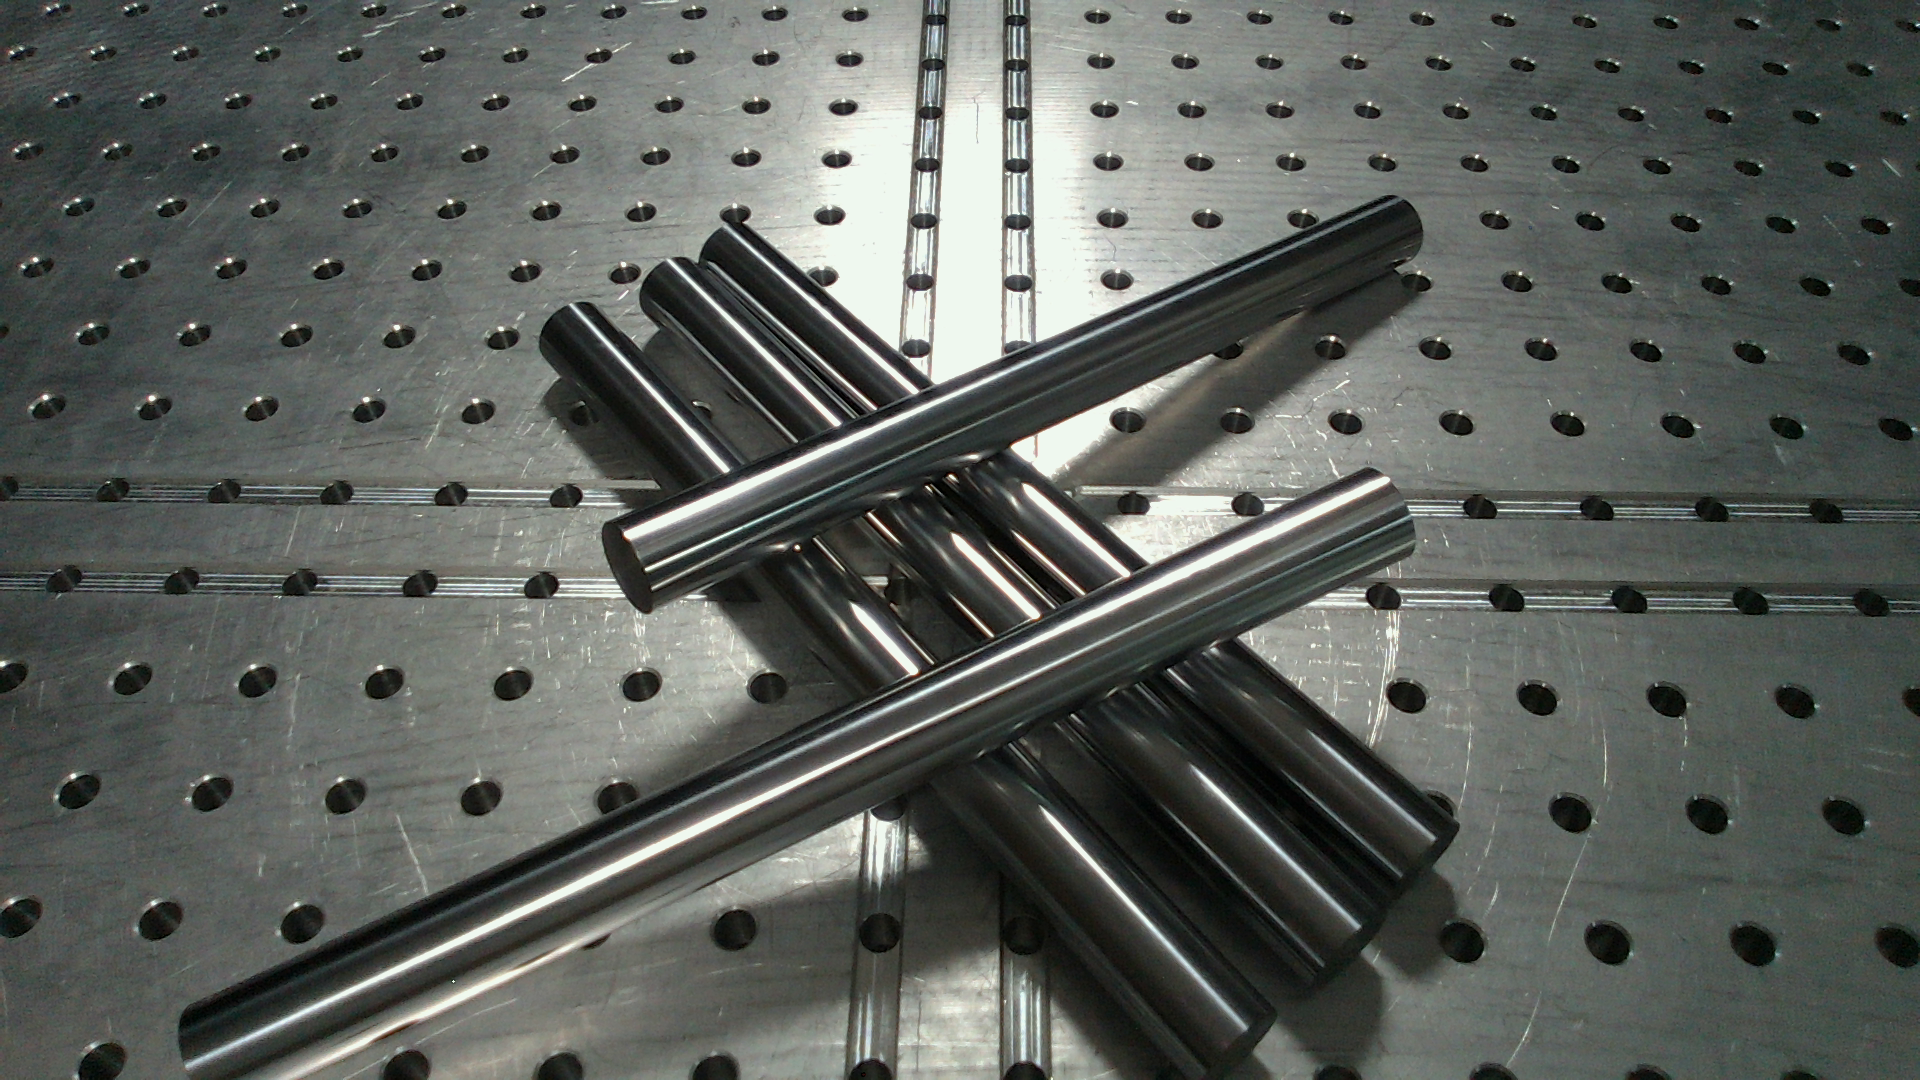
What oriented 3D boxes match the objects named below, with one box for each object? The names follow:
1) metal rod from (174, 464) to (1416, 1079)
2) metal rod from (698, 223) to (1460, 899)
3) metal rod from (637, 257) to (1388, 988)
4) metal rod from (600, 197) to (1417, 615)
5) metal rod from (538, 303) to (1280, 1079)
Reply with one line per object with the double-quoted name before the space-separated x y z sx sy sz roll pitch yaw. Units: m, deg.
"metal rod" -0.029 0.053 0.323 0.300 0.025 0.025 -24 53 -9
"metal rod" 0.016 -0.011 0.404 0.025 0.025 0.299 -33 57 -24
"metal rod" -0.004 0.005 0.390 0.025 0.025 0.299 -32 57 -24
"metal rod" 0.035 -0.051 0.411 0.301 0.025 0.025 -26 54 -30
"metal rod" -0.033 0.022 0.375 0.025 0.025 0.299 -32 57 -24
